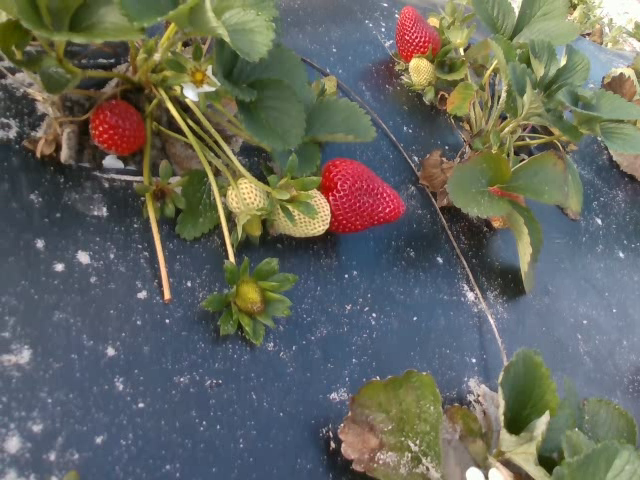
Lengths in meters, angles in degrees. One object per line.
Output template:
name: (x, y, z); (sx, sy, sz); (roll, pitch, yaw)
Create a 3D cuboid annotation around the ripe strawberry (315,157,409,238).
ripe strawberry: (0.028, -0.022, 0.392); (0.055, 0.051, 0.048); (21, -5, 15)
